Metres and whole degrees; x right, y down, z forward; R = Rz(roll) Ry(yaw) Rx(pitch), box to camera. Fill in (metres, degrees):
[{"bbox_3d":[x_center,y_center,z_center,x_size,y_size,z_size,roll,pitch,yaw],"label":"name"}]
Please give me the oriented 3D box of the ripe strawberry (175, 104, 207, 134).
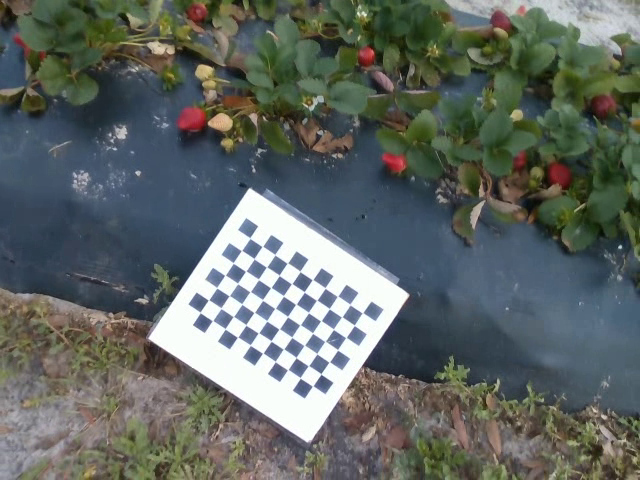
[{"bbox_3d":[-0.202,-0.189,0.910,0.050,0.034,0.059,22,41,1],"label":"ripe strawberry"}]
